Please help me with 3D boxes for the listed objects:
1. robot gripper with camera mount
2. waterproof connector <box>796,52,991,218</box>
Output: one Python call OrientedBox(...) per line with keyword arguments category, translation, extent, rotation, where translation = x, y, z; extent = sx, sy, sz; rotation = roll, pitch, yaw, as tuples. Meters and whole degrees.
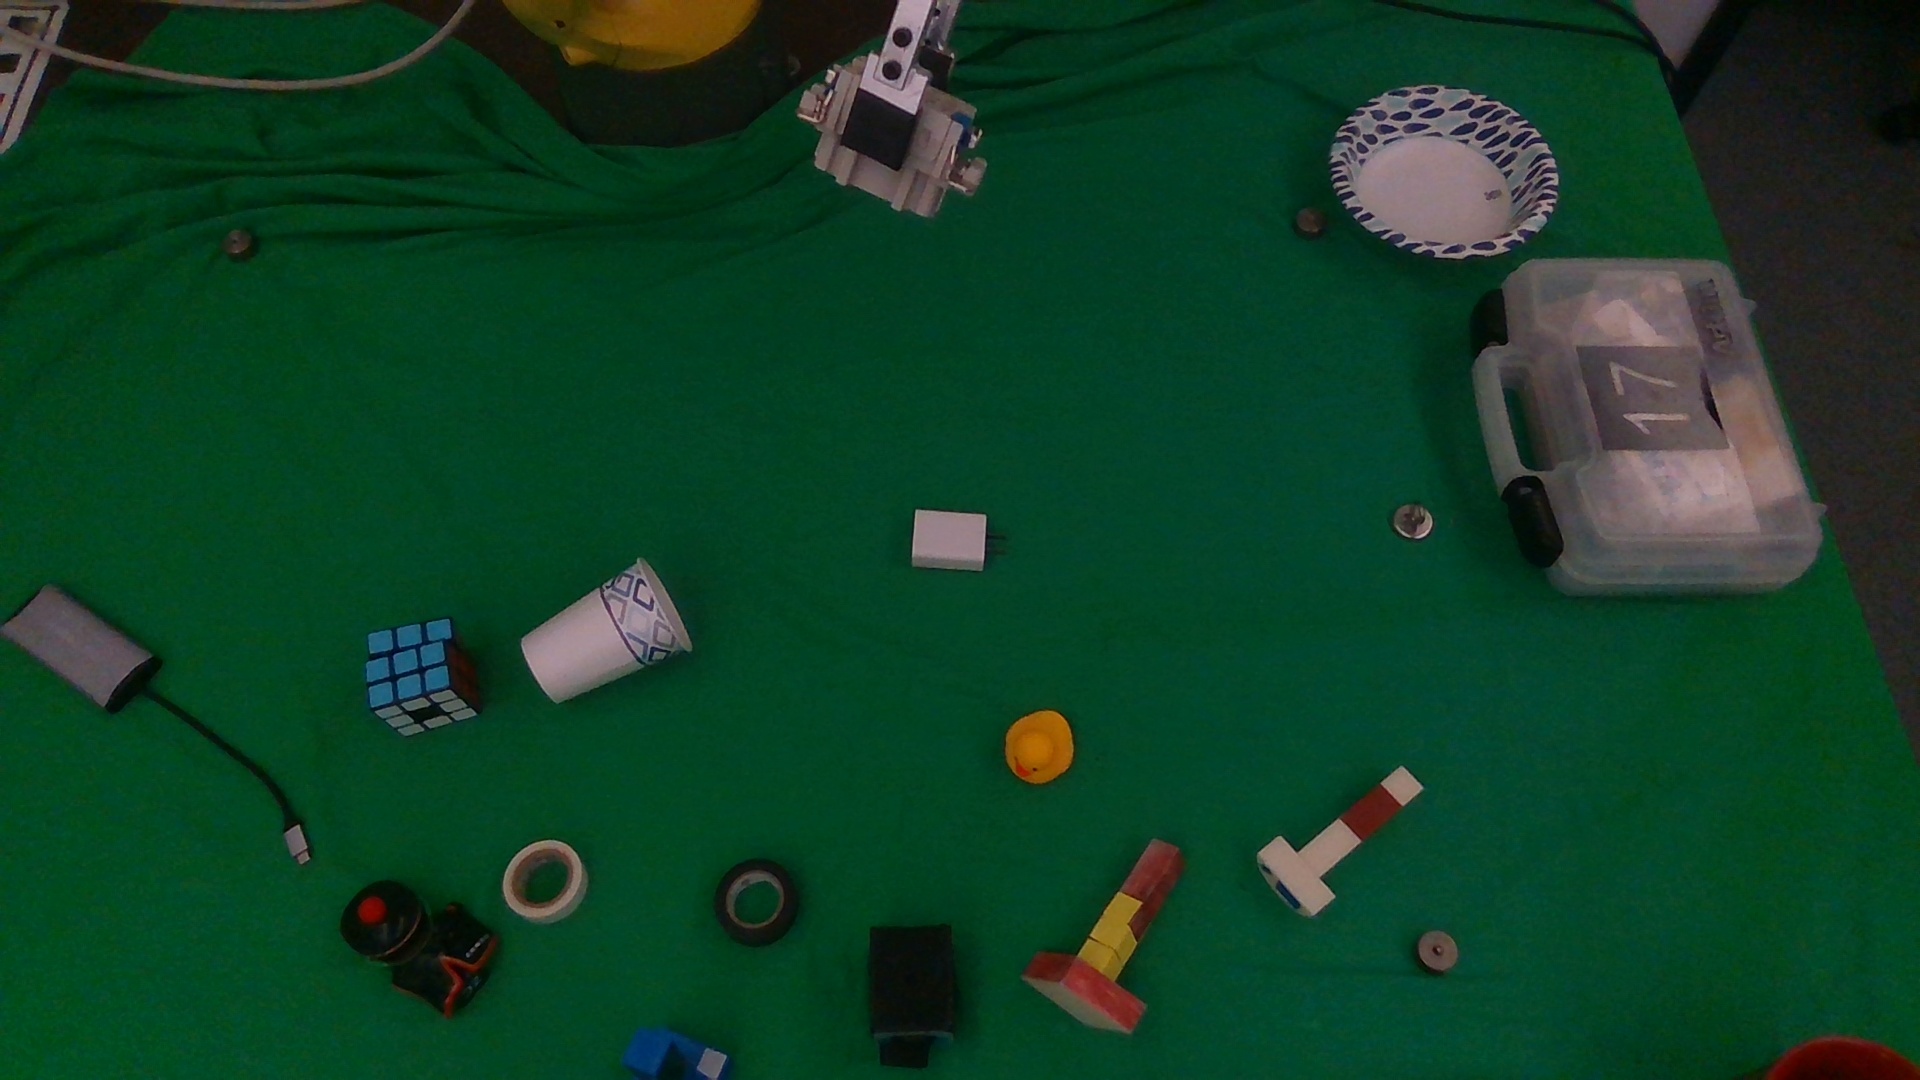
OrientedBox(category="robot gripper with camera mount", translation=(-0.067, -0.225, 0.414), extent=(0.193, 0.159, 0.119), rotation=(26, 30, -3))
OrientedBox(category="waterproof connector", translation=(-0.021, -0.133, 0.459), extent=(0.065, 0.037, 0.035), rotation=(24, 32, -5))
